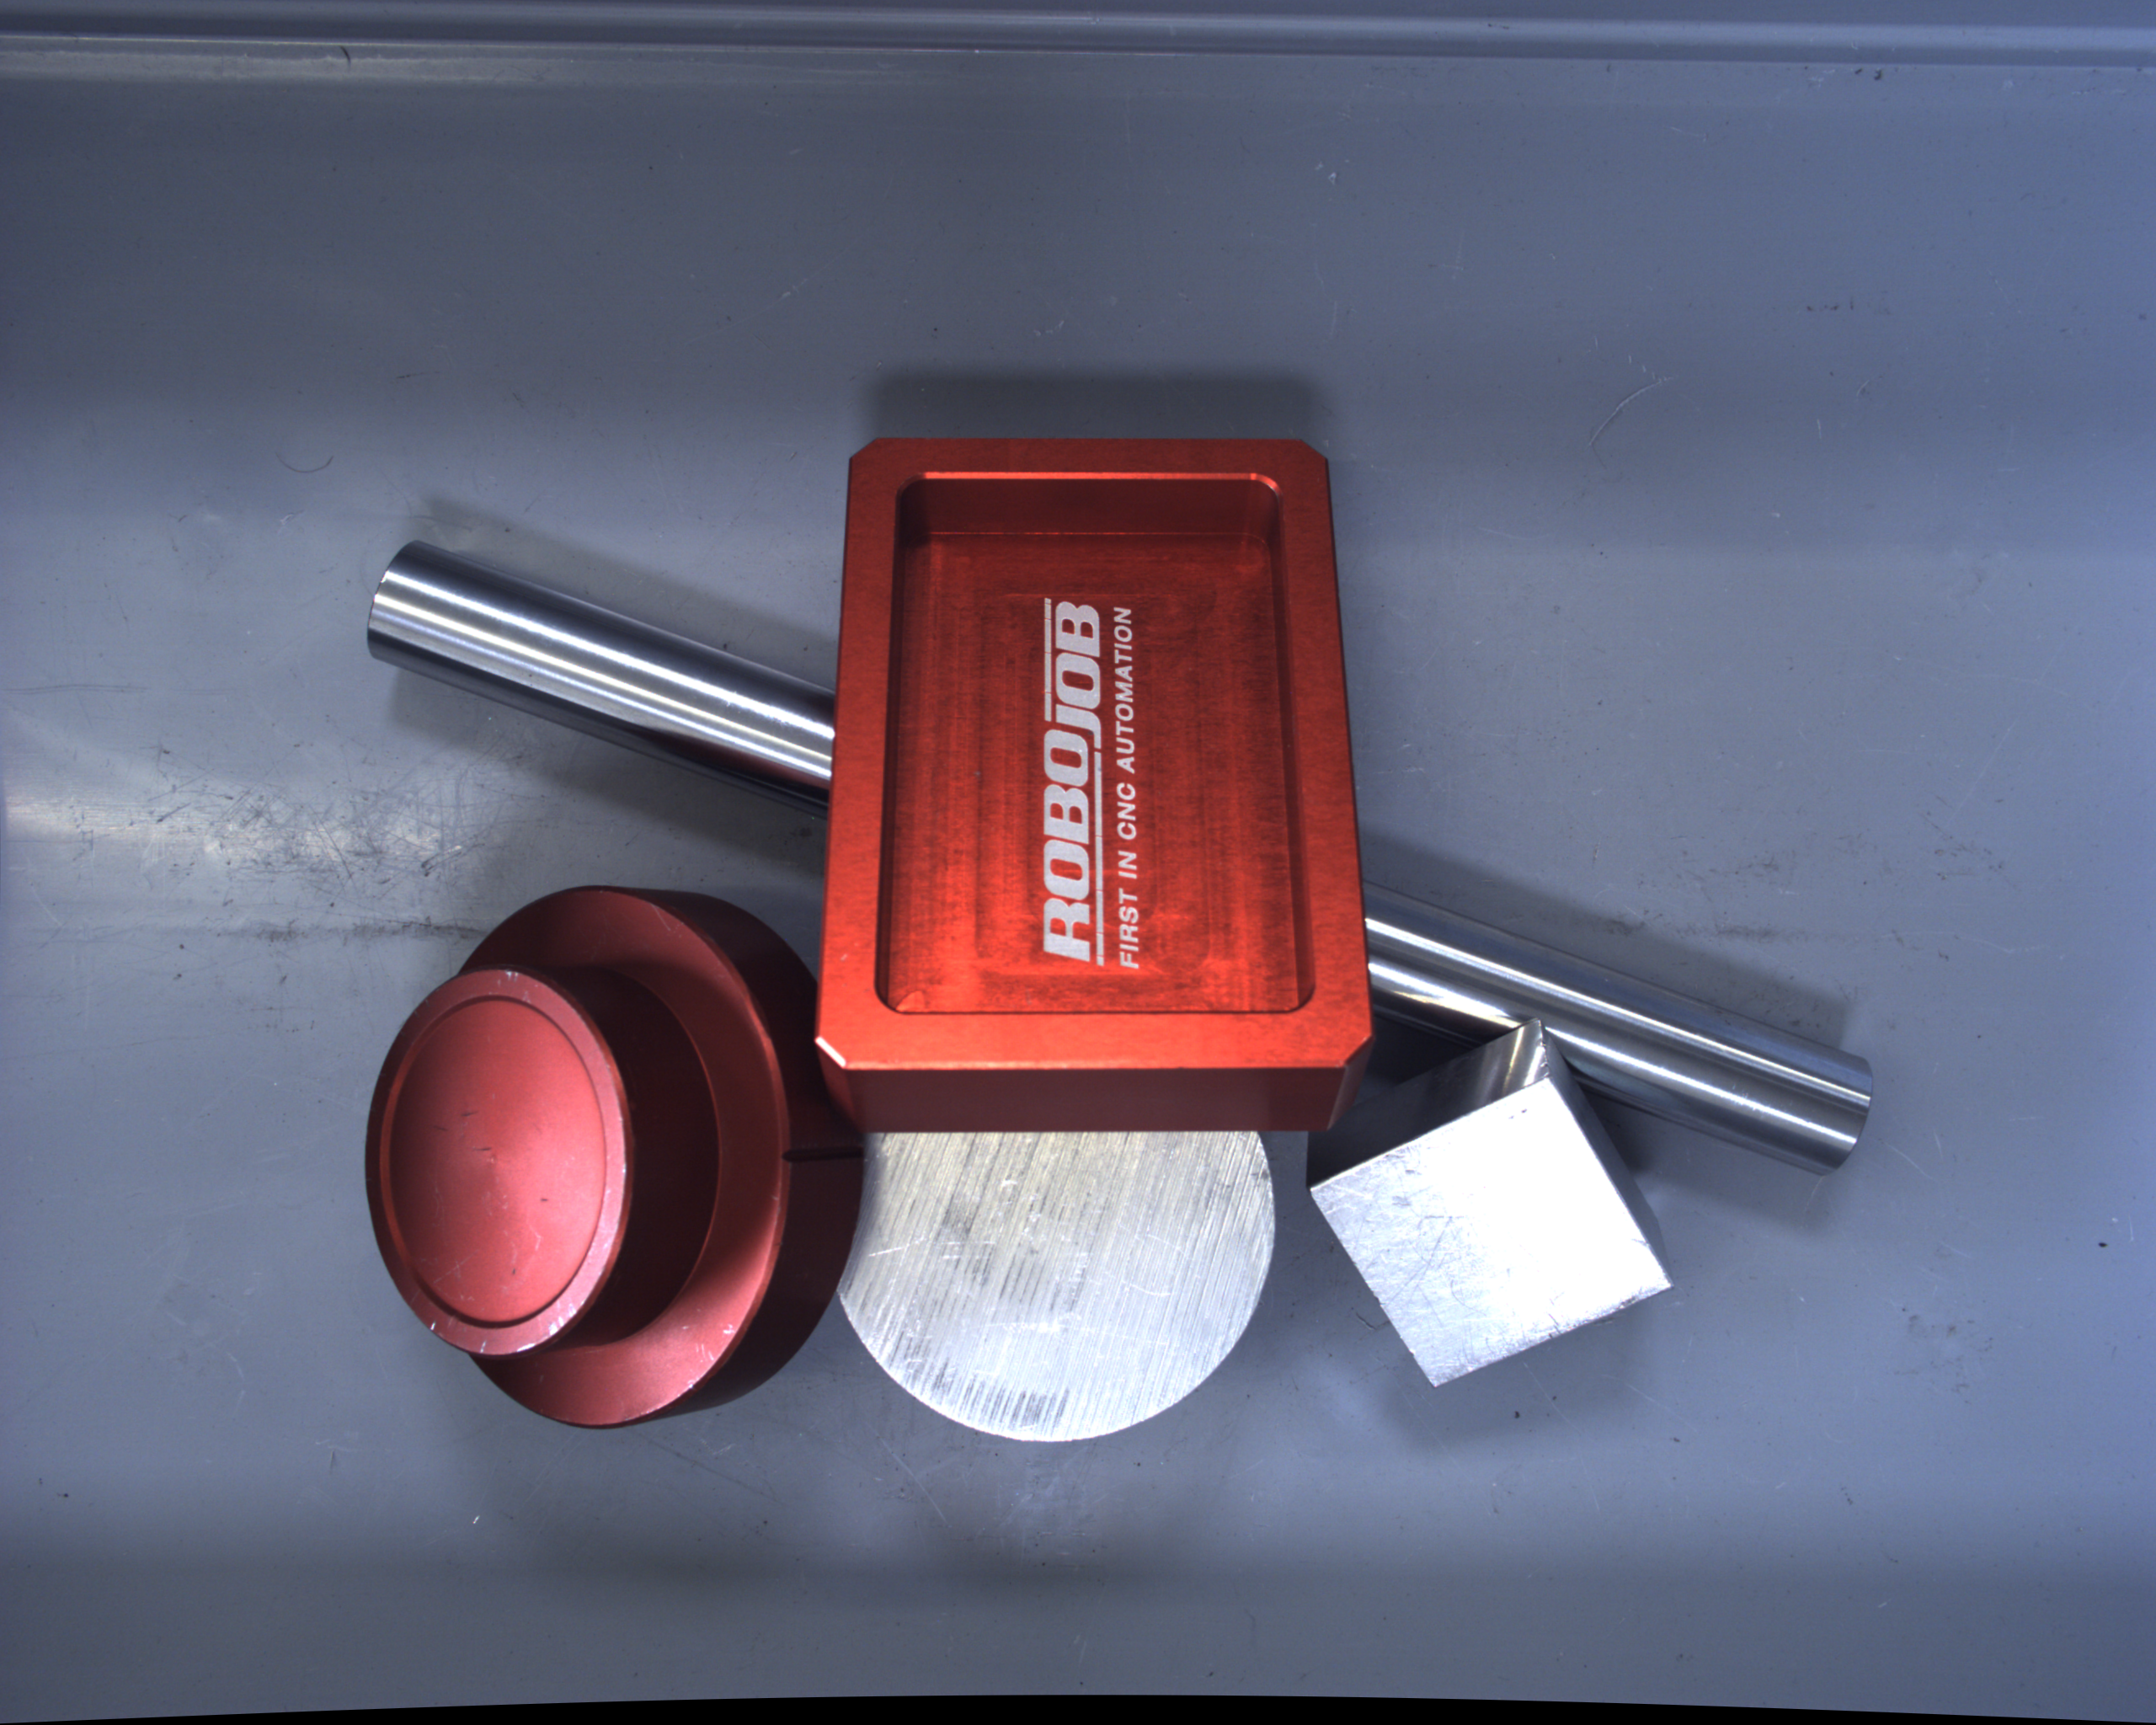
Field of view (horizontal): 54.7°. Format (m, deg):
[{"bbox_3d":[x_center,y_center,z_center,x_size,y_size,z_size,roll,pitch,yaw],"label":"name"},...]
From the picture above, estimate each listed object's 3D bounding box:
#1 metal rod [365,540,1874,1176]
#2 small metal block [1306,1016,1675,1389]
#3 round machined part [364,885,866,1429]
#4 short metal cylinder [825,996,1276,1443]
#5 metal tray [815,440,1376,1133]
[{"bbox_3d":[0.008,-0.001,0.410,0.301,0.025,0.025,20,90,0],"label":"metal rod"},{"bbox_3d":[0.078,0.065,0.399,0.050,0.025,0.050,-28,106,16],"label":"small metal block"},{"bbox_3d":[-0.090,0.053,0.377,0.098,0.042,0.097,-3,84,32],"label":"round machined part"},{"bbox_3d":[-0.005,0.064,0.397,0.081,0.050,0.079,0,90,0],"label":"short metal cylinder"},{"bbox_3d":[0.002,-0.017,0.378,0.091,0.030,0.130,0,61,-1],"label":"metal tray"}]
